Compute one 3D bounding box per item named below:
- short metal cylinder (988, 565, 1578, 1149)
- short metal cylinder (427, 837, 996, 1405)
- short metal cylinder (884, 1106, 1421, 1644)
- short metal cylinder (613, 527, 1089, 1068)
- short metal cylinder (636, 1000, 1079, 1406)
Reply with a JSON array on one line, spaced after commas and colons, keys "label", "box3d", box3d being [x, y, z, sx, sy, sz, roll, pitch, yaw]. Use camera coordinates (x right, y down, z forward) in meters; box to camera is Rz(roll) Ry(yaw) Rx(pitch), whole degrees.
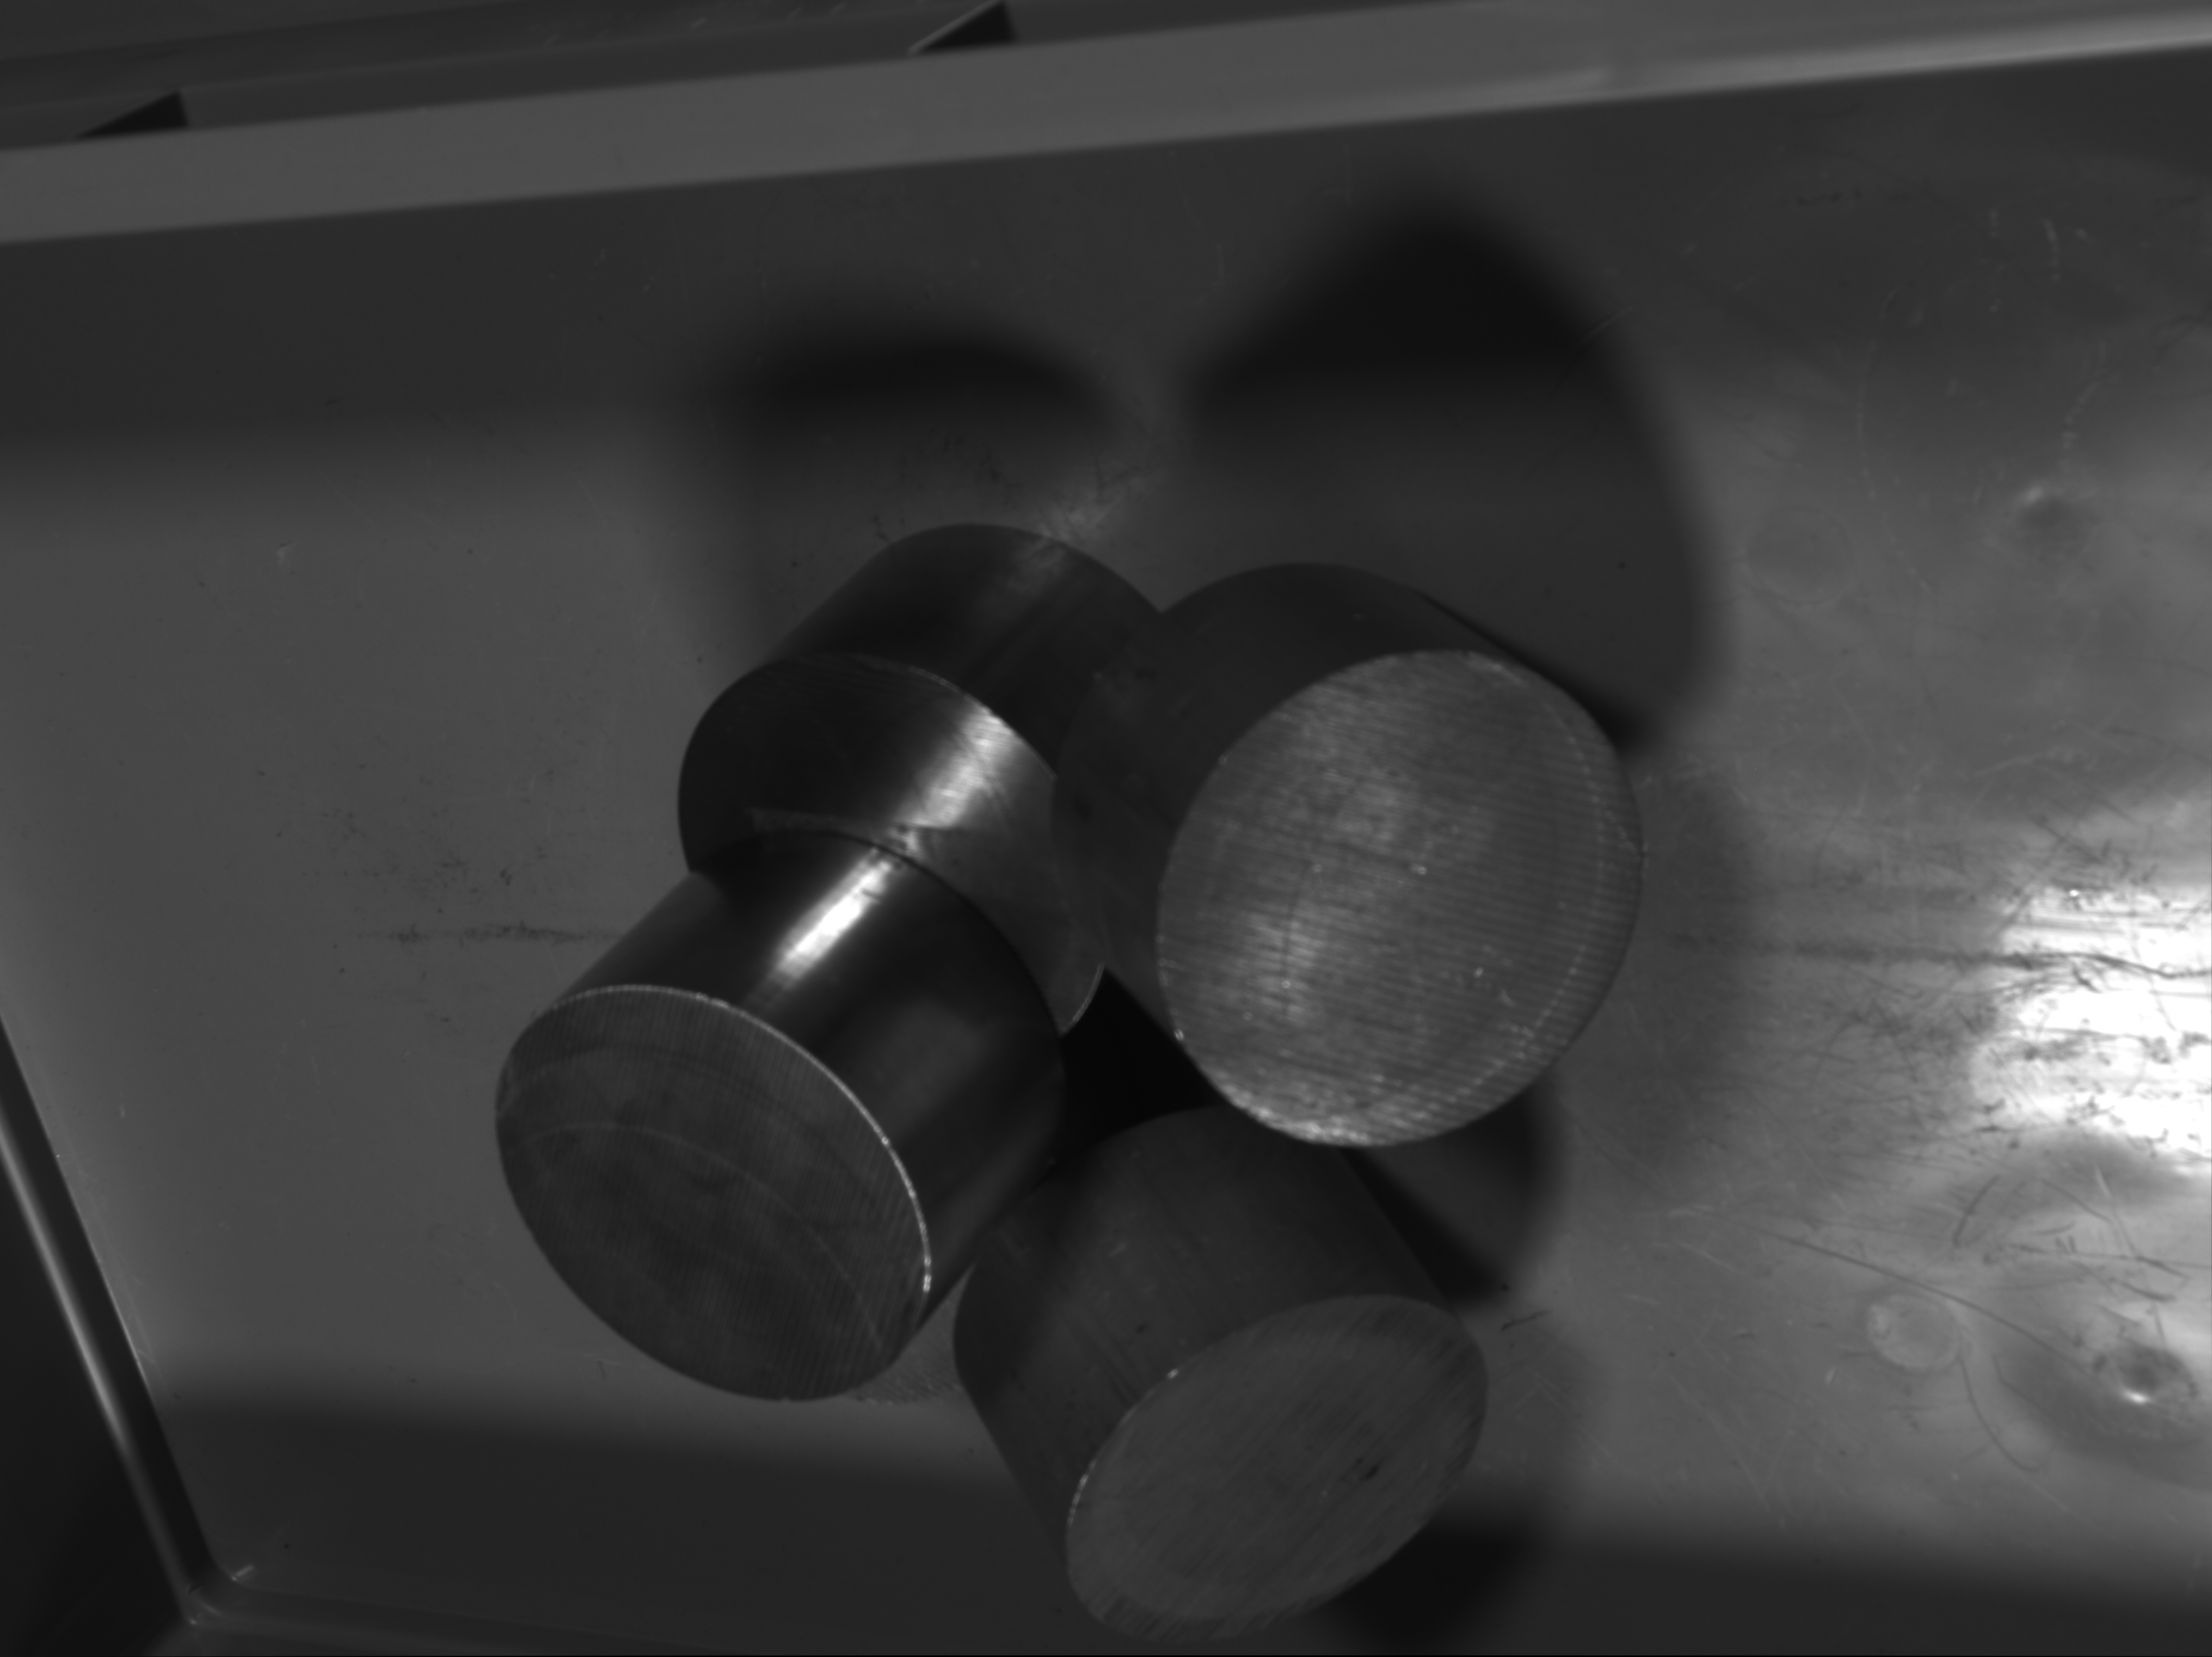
[{"label": "short metal cylinder", "box3d": [0.027, 0.004, 0.576, 0.080, 0.050, 0.080, -7, 111, -18]}, {"label": "short metal cylinder", "box3d": [-0.065, 0.049, 0.610, 0.080, 0.050, 0.080, 12, 123, 20]}, {"label": "short metal cylinder", "box3d": [0.008, 0.095, 0.639, 0.050, 0.080, 0.080, 53, 142, 44]}, {"label": "short metal cylinder", "box3d": [-0.037, -0.005, 0.629, 0.080, 0.050, 0.080, 12, 123, 20]}, {"label": "short metal cylinder", "box3d": [-0.052, 0.059, 0.676, 0.080, 0.050, 0.080, 12, 123, 20]}]
